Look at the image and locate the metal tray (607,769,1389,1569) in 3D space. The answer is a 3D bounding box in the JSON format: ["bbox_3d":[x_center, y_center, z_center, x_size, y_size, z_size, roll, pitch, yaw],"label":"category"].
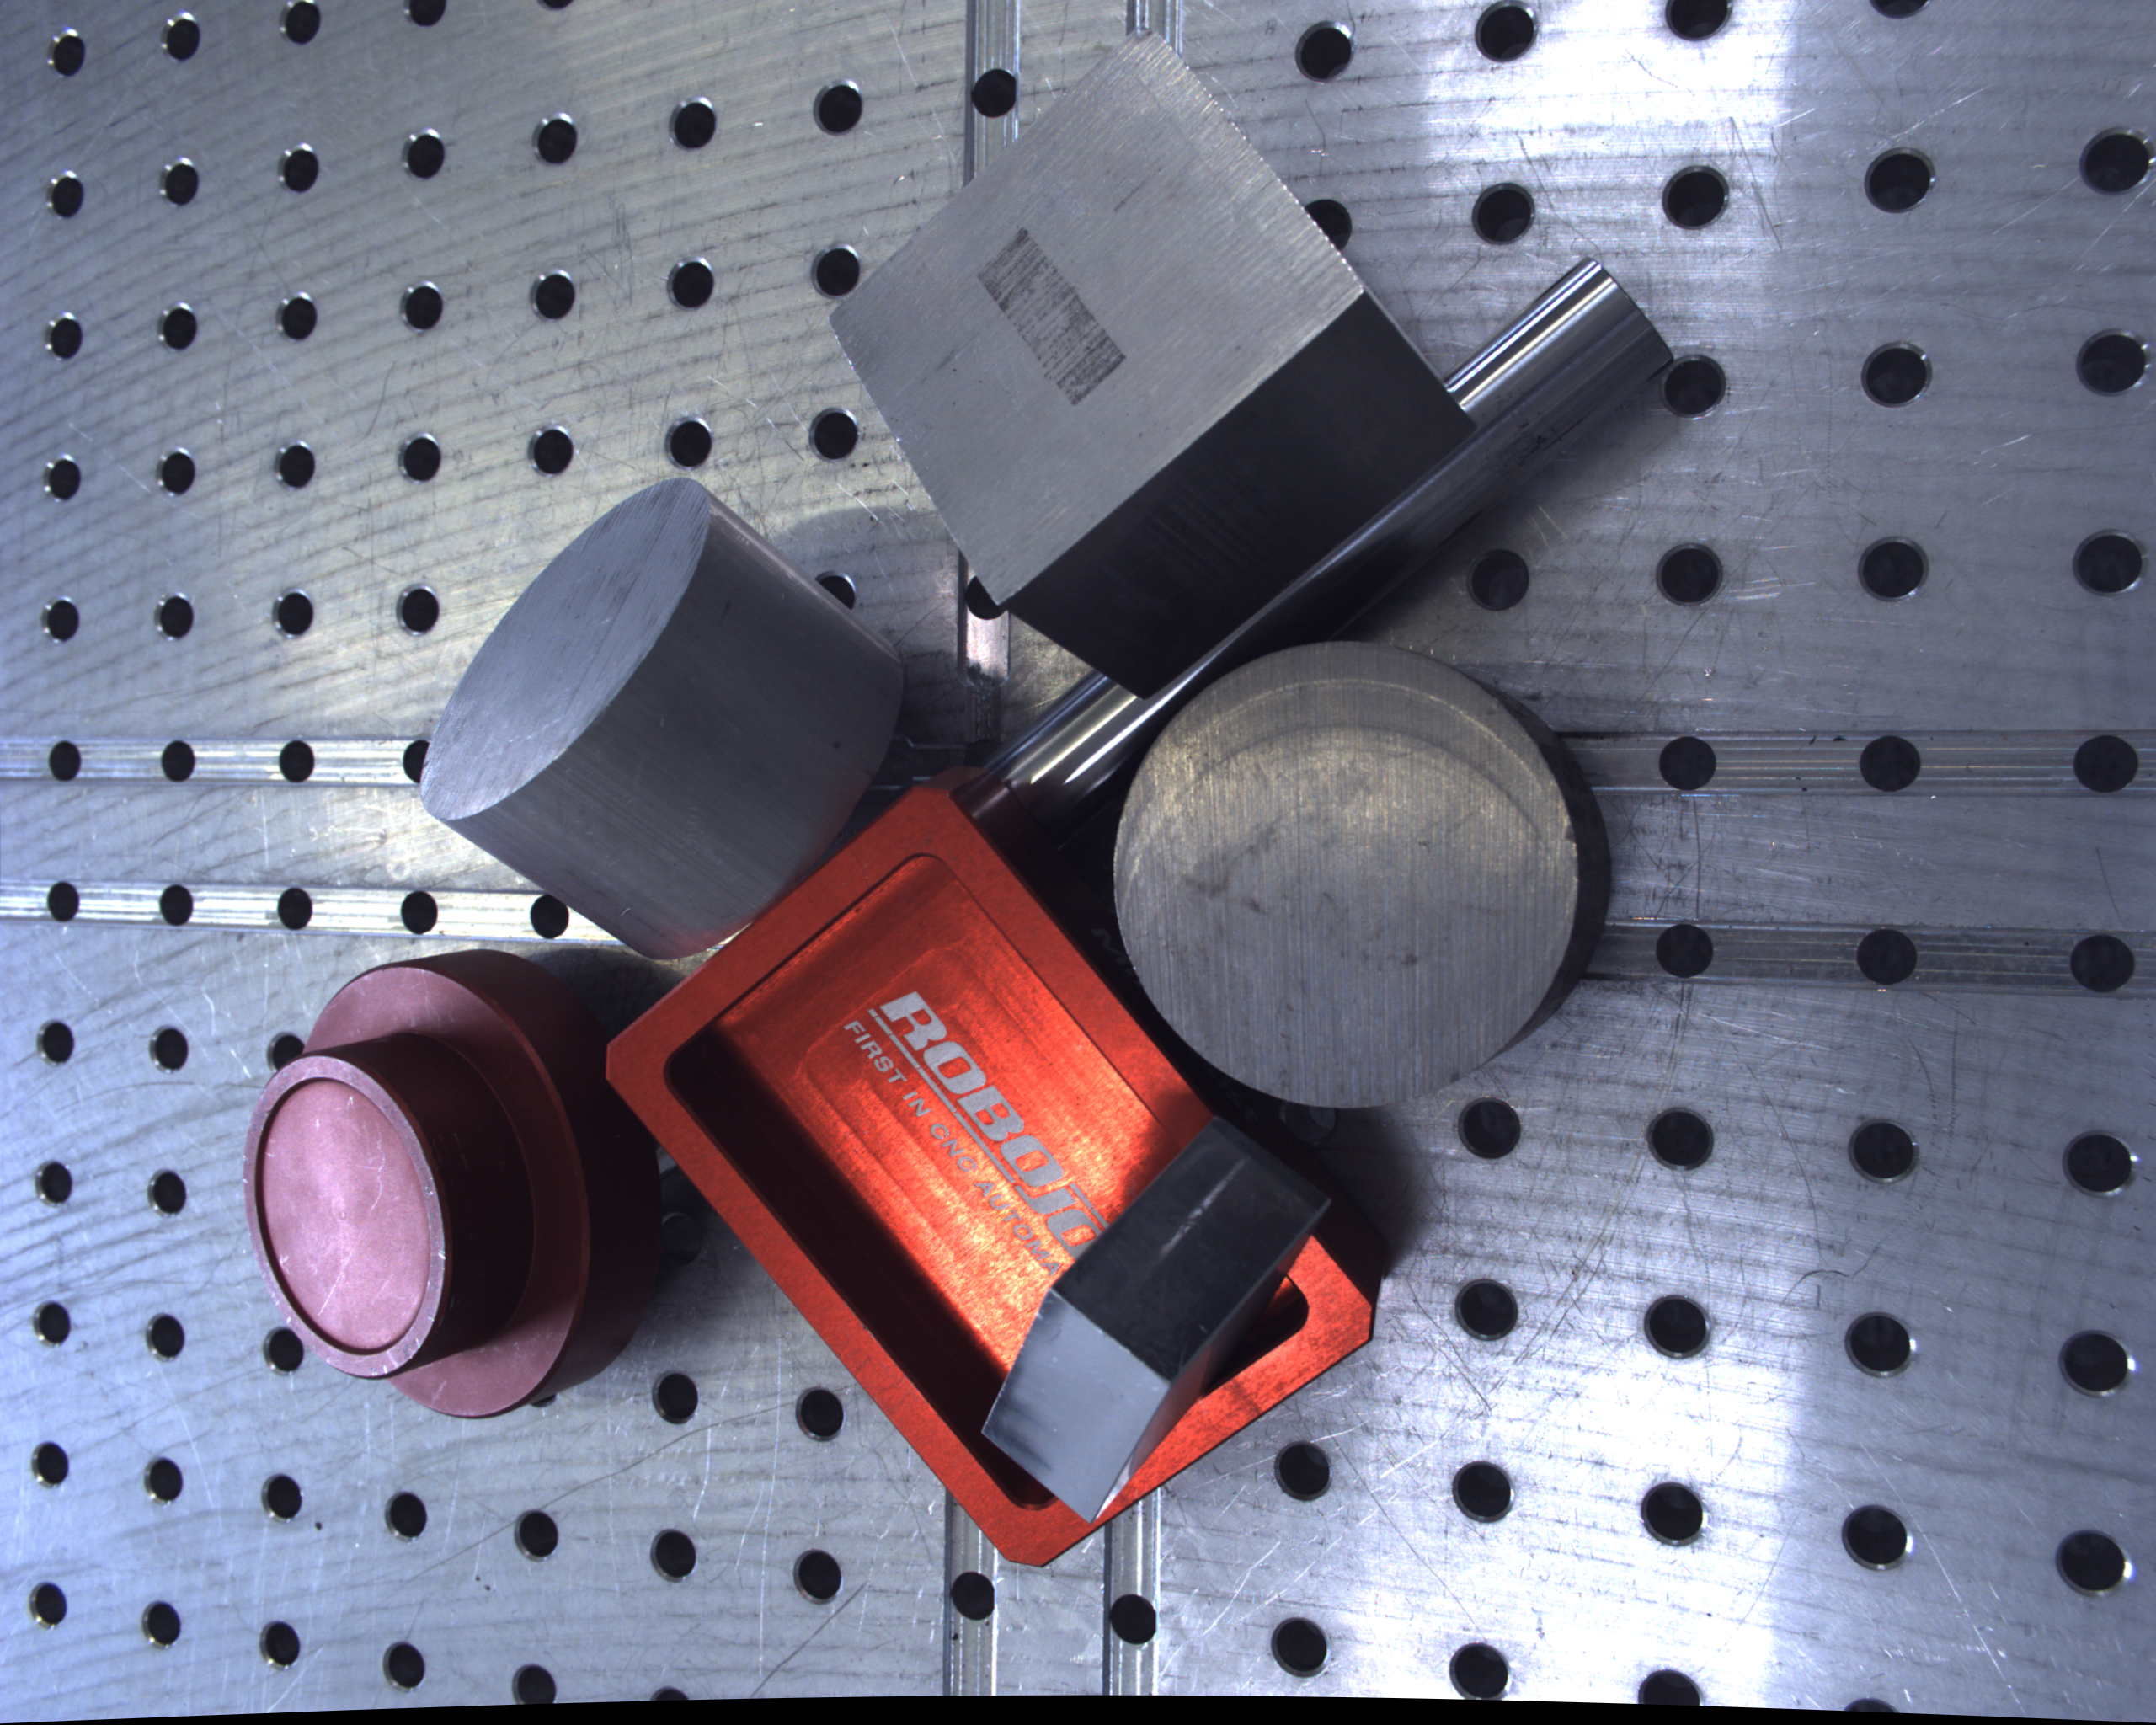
[{"bbox_3d":[-0.015,0.058,0.400,0.090,0.030,0.130,-39,90,16],"label":"metal tray"}]

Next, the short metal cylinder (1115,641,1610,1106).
[{"bbox_3d":[0.053,0.002,0.380,0.080,0.050,0.079,0,90,20],"label":"short metal cylinder"}]

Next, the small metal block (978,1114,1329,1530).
[{"bbox_3d":[0.013,0.080,0.363,0.025,0.050,0.050,36,137,14],"label":"small metal block"}]

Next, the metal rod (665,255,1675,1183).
[{"bbox_3d":[-0.012,-0.009,0.418,0.300,0.025,0.025,-39,78,16],"label":"metal rod"}]

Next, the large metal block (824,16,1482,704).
[{"bbox_3d":[0.012,-0.090,0.383,0.080,0.050,0.080,-39,58,16],"label":"large metal block"}]

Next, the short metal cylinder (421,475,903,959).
[{"bbox_3d":[-0.081,-0.028,0.406,0.080,0.050,0.080,-31,37,27],"label":"short metal cylinder"}]

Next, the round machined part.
[{"bbox_3d":[-0.137,0.069,0.438,0.098,0.042,0.097,5,99,35],"label":"round machined part"}]
